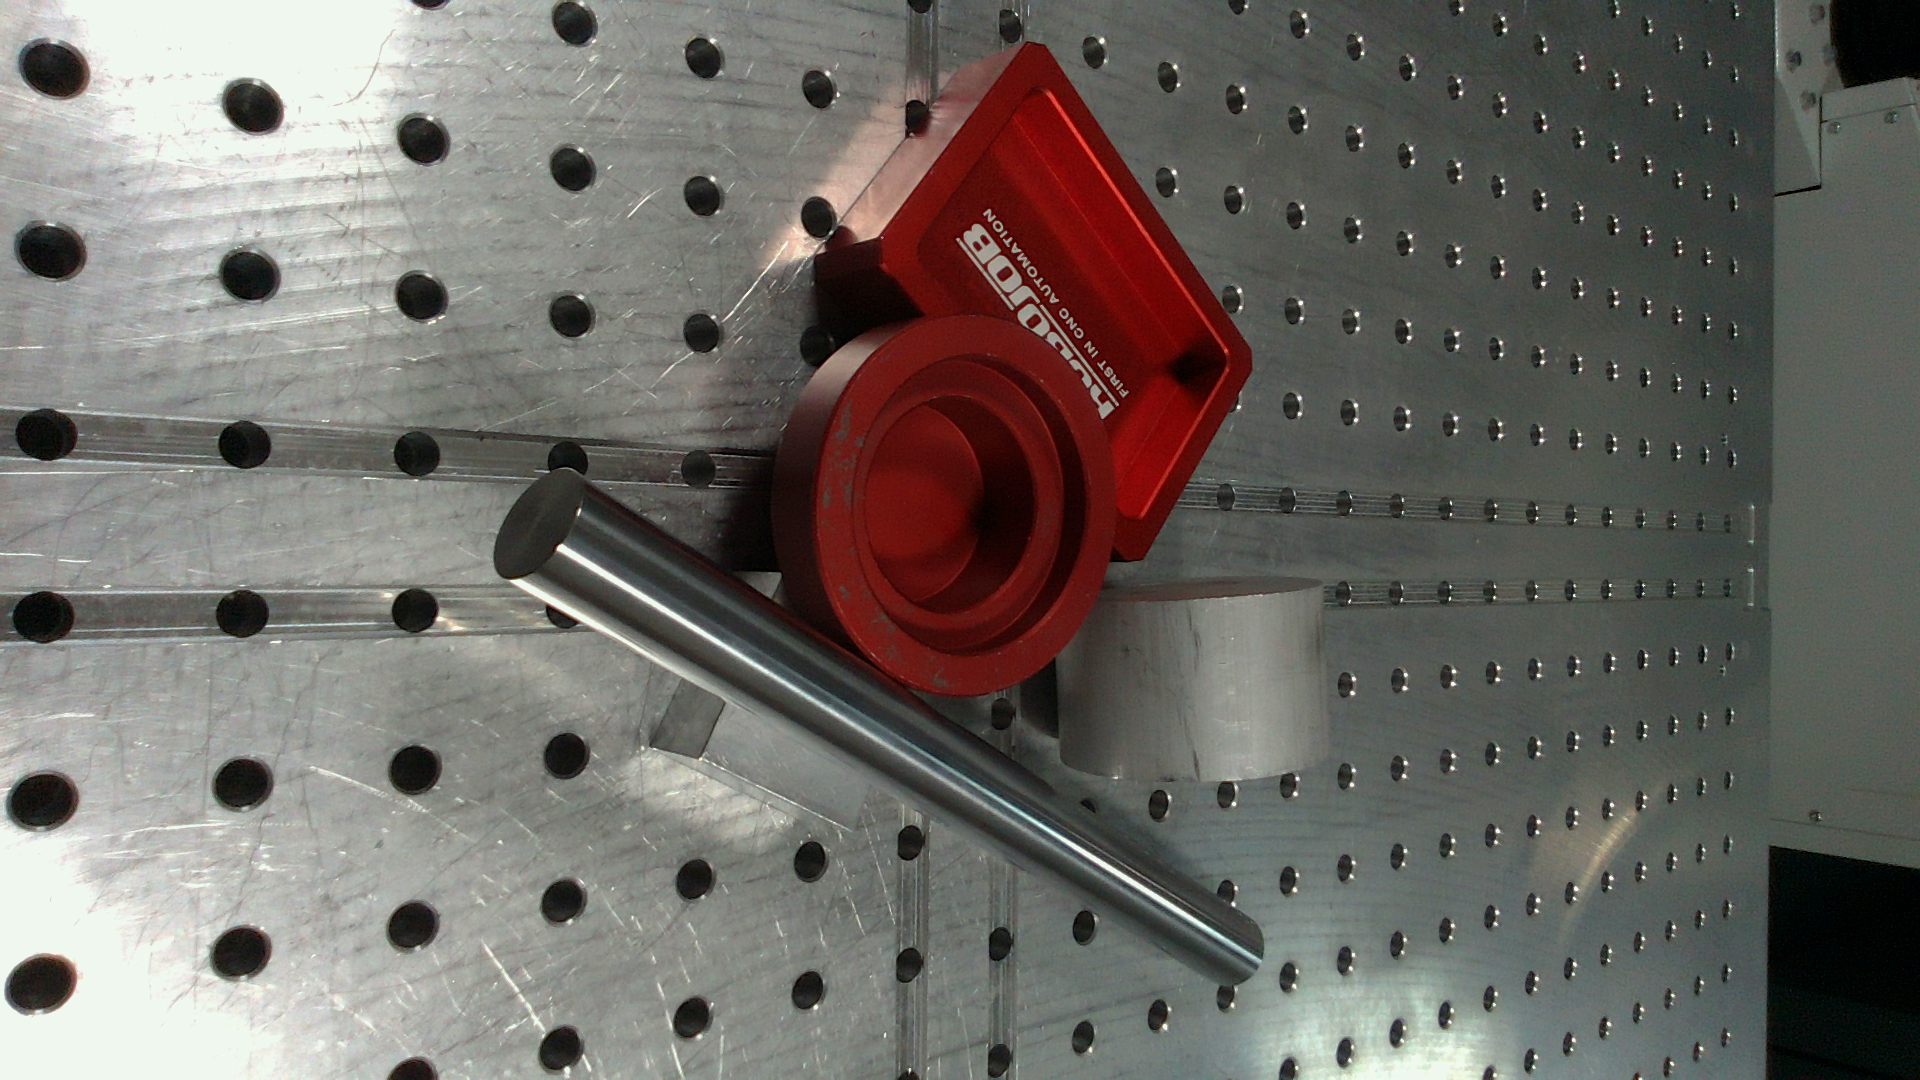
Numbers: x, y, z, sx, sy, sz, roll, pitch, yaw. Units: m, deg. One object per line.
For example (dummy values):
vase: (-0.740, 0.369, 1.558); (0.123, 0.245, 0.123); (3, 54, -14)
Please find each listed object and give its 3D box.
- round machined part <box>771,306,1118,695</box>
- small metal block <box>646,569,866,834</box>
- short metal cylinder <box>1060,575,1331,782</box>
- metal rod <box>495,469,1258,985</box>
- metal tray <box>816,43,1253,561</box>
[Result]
round machined part: (-0.007, -0.010, 0.364); (0.098, 0.042, 0.098); (0, 90, -38)
small metal block: (-0.044, 0.041, 0.355); (0.050, 0.025, 0.050); (35, 69, -34)
short metal cylinder: (0.069, 0.039, 0.412); (0.080, 0.080, 0.050); (-5, 93, -40)
metal rod: (0.004, 0.068, 0.369); (0.301, 0.025, 0.025); (40, 66, -42)
metal tray: (0.028, -0.067, 0.411); (0.130, 0.030, 0.090); (47, 62, -29)
